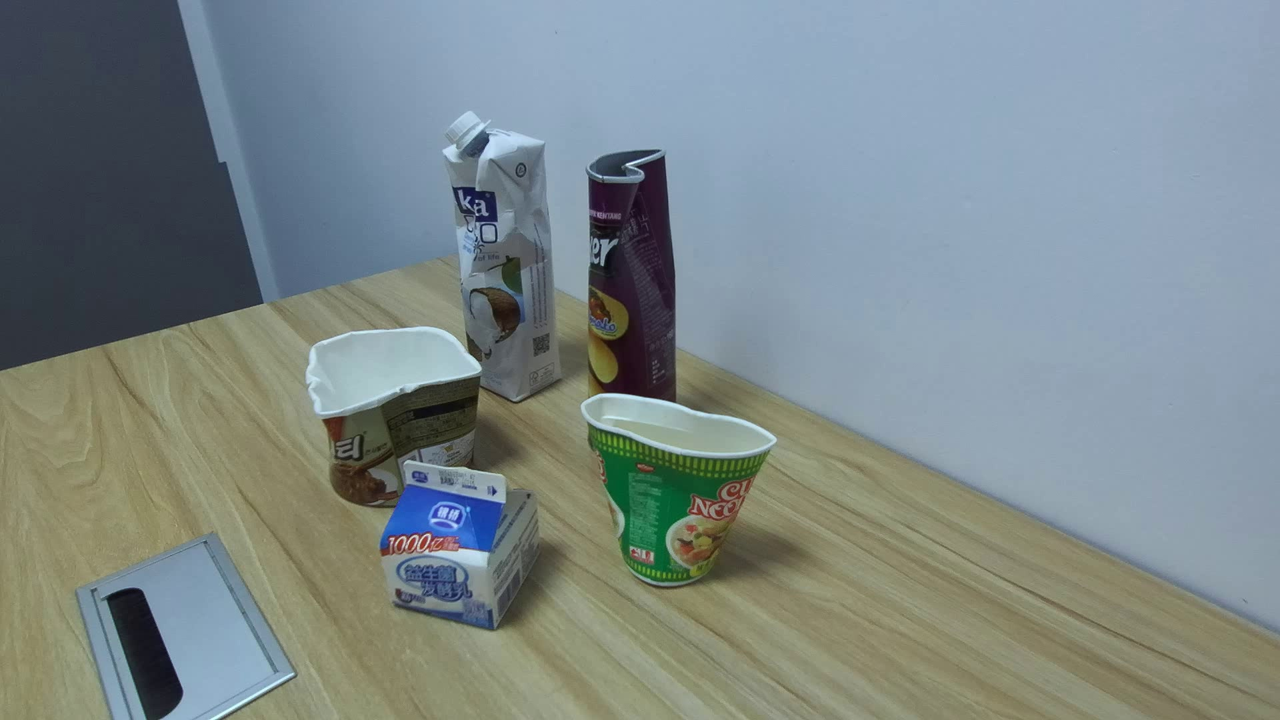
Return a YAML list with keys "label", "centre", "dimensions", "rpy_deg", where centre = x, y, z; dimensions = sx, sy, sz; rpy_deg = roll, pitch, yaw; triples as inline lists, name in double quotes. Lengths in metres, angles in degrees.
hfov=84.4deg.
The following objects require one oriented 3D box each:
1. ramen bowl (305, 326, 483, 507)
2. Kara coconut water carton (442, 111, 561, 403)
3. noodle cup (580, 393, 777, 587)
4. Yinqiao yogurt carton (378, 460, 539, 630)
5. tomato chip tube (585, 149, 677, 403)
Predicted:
- label: "ramen bowl"
  centre: [-0.199, 0.038, 0.558]
  dimensions: [0.114, 0.097, 0.133]
  rpy_deg: [-24, 39, -33]
- label: "Kara coconut water carton"
  centre: [-0.123, -0.091, 0.631]
  dimensions: [0.079, 0.256, 0.083]
  rpy_deg: [-22, 36, -32]
- label: "noodle cup"
  centre: [0.019, 0.082, 0.458]
  dimensions: [0.114, 0.111, 0.070]
  rpy_deg: [25, 39, 38]
- label: "Yinqiao yogurt carton"
  centre: [-0.112, 0.104, 0.443]
  dimensions: [0.075, 0.092, 0.074]
  rpy_deg: [7, 29, 14]
- label: "tomato chip tube"
  centre: [-0.004, -0.036, 0.549]
  dimensions: [0.078, 0.235, 0.076]
  rpy_deg: [-9, 30, -18]
